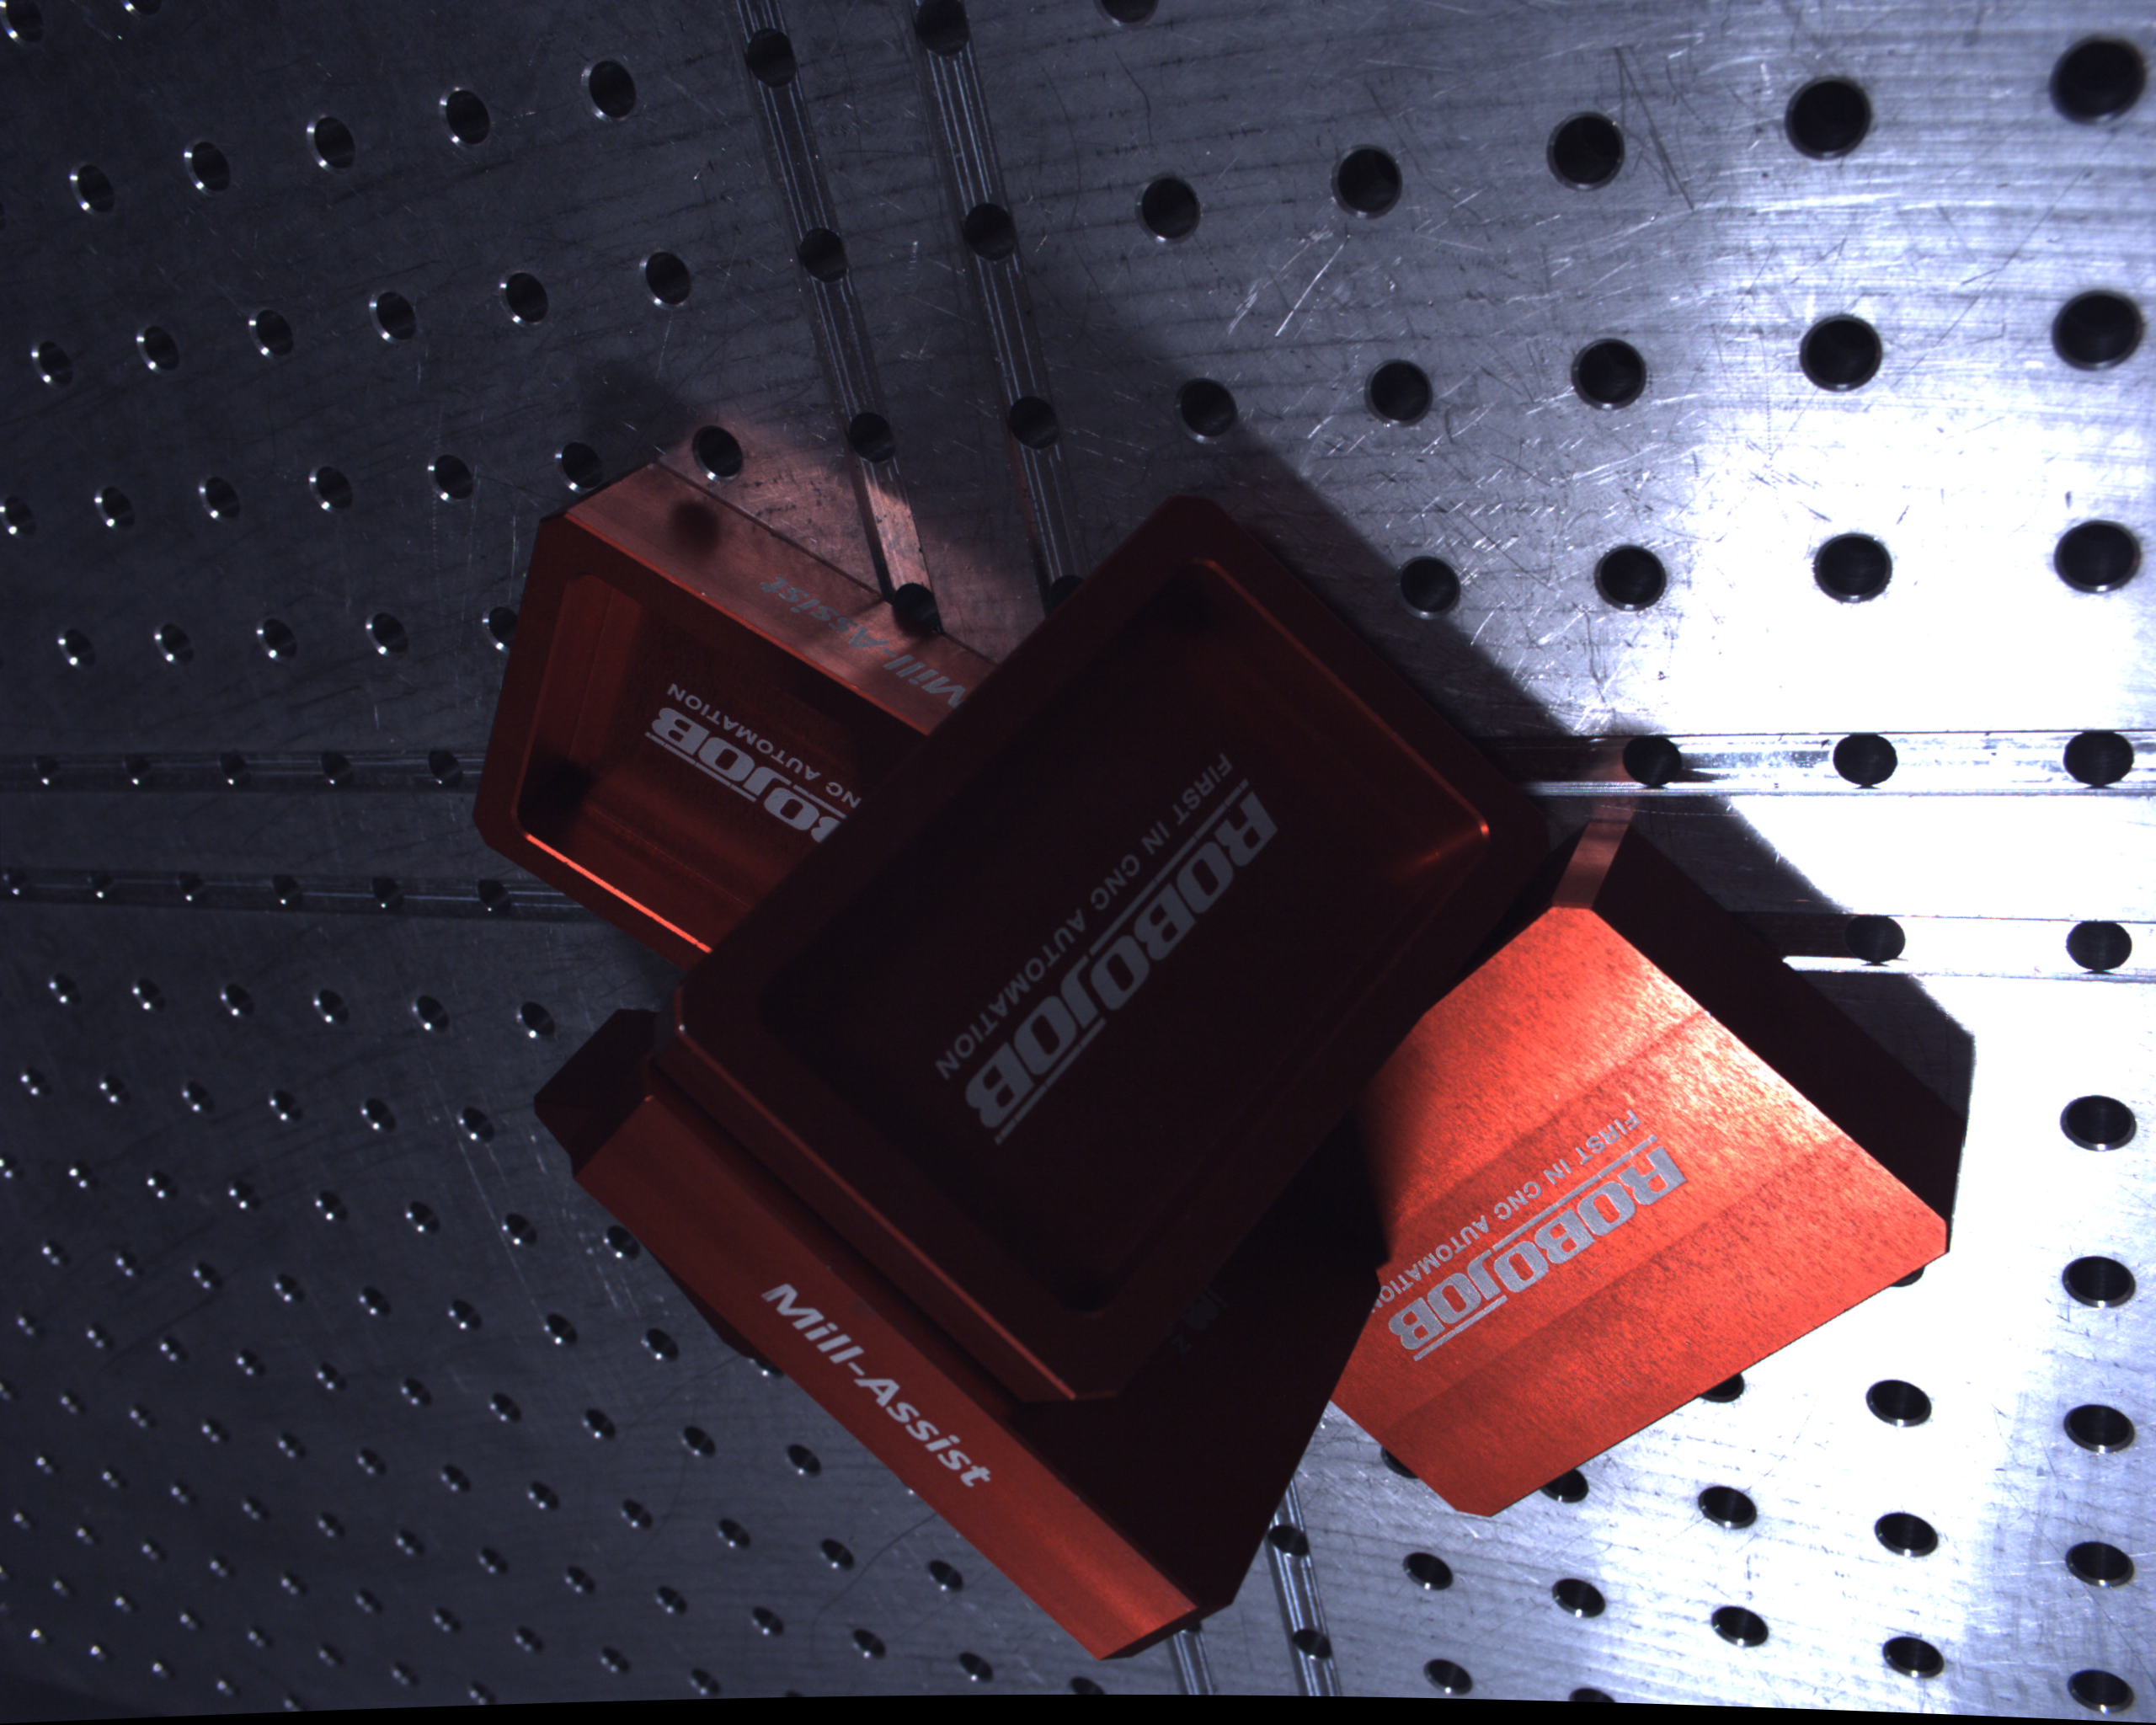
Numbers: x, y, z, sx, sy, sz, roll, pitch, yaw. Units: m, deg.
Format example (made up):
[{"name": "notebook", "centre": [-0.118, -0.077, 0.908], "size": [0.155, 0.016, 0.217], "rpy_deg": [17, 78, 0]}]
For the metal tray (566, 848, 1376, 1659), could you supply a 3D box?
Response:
[{"name": "metal tray", "centre": [-0.014, 0.064, 0.375], "size": [0.130, 0.090, 0.030], "rpy_deg": [44, 129, -3]}]

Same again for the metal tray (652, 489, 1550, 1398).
[{"name": "metal tray", "centre": [0.007, 0.011, 0.346], "size": [0.090, 0.130, 0.030], "rpy_deg": [44, 157, -2]}]

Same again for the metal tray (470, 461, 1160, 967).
[{"name": "metal tray", "centre": [-0.056, -0.012, 0.429], "size": [0.130, 0.030, 0.089], "rpy_deg": [31, 128, 7]}]

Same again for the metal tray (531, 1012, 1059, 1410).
[{"name": "metal tray", "centre": [-0.051, 0.078, 0.450], "size": [0.130, 0.030, 0.090], "rpy_deg": [1, 131, 44]}]

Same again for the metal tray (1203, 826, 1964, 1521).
[{"name": "metal tray", "centre": [0.087, 0.064, 0.399], "size": [0.090, 0.030, 0.129], "rpy_deg": [41, 129, -1]}]
